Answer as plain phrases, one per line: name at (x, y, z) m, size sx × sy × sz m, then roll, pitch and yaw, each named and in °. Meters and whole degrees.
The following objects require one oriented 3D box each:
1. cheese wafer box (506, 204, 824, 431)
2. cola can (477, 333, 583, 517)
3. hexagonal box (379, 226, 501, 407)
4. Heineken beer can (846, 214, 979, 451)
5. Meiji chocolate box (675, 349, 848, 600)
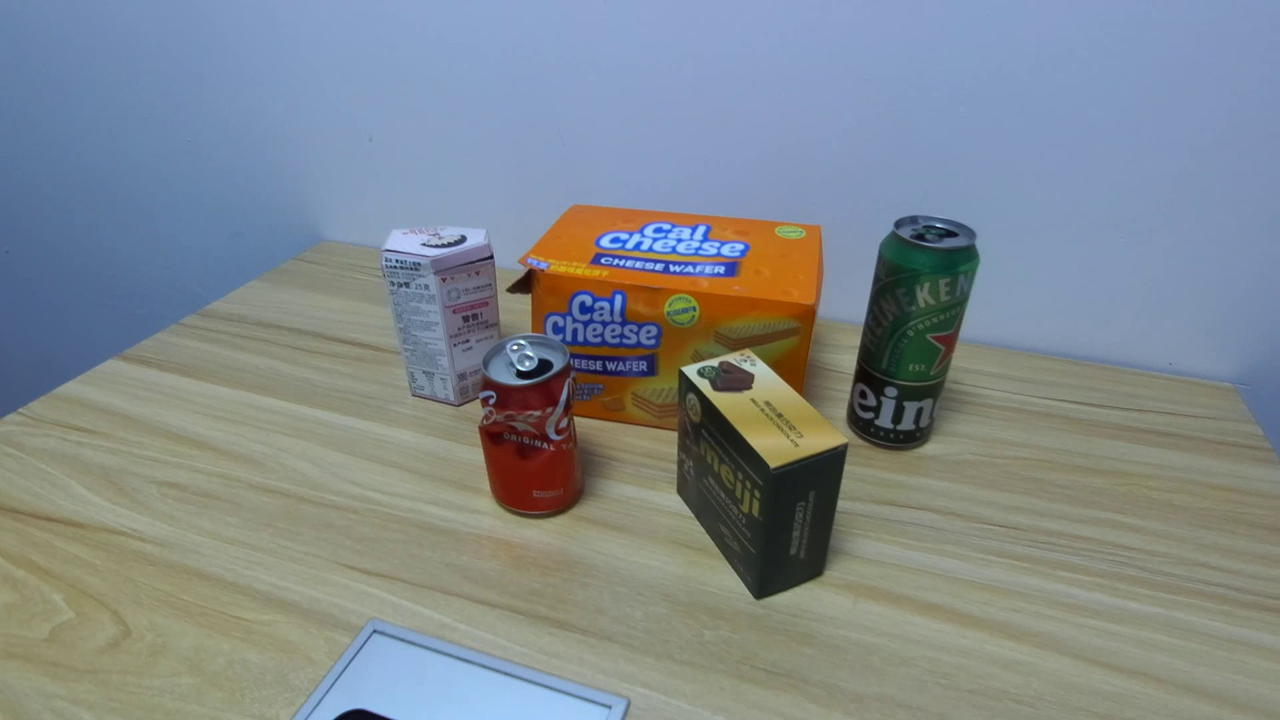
cheese wafer box at (0.029, -0.038, 0.584) m, size 0.226 × 0.137 × 0.149 m, roll 8°, pitch 35°, yaw 11°
cola can at (-0.073, 0.044, 0.476) m, size 0.066 × 0.117 × 0.066 m, roll 3°, pitch 33°, yaw 5°
hexagonal box at (-0.159, -0.040, 0.587) m, size 0.092 × 0.135 × 0.084 m, roll -23°, pitch 39°, yaw -31°
Heineken beer can at (0.198, -0.016, 0.521) m, size 0.067 × 0.169 × 0.067 m, roll 0°, pitch 32°, yaw 0°
Meiji chocolate box at (0.071, 0.069, 0.444) m, size 0.056 × 0.109 × 0.109 m, roll -15°, pitch 36°, yaw -20°
